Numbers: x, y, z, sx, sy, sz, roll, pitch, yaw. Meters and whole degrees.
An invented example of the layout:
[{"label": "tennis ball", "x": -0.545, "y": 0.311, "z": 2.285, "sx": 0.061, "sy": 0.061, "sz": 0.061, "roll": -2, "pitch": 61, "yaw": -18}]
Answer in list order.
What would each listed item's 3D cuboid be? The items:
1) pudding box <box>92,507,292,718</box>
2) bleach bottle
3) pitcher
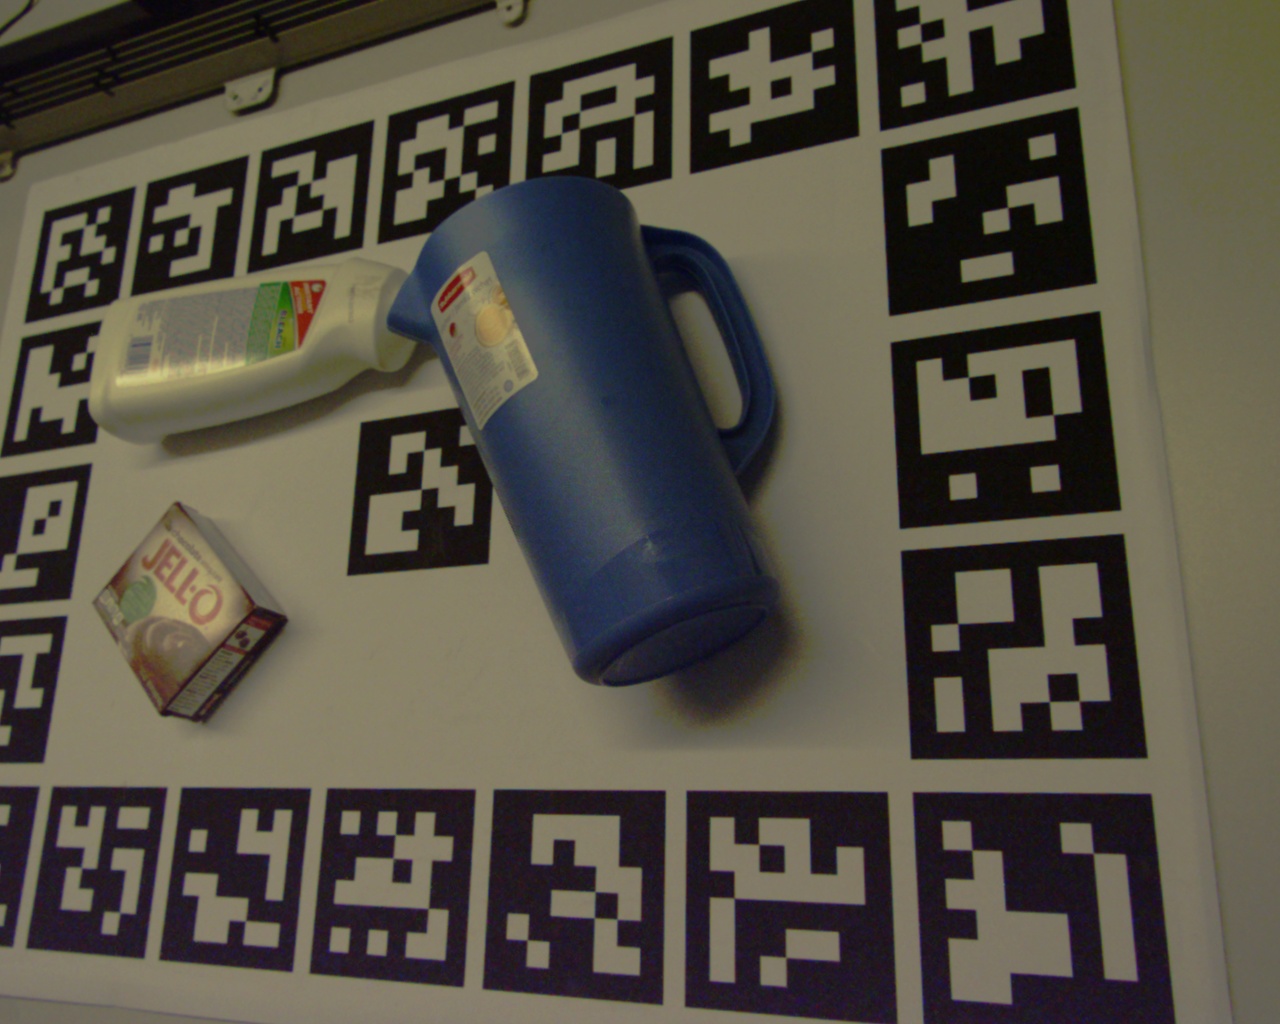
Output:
[{"label": "pudding box", "x": -0.299, "y": 0.067, "z": 0.760, "sx": 0.090, "sy": 0.038, "sz": 0.115, "roll": -46, "pitch": 64, "yaw": 0}, {"label": "bleach bottle", "x": -0.245, "y": -0.108, "z": 0.776, "sx": 0.253, "sy": 0.067, "sz": 0.103, "roll": -8, "pitch": 77, "yaw": 20}, {"label": "pitcher", "x": -0.012, "y": -0.033, "z": 0.631, "sx": 0.187, "sy": 0.133, "sz": 0.244, "roll": -18, "pitch": 70, "yaw": -18}]
